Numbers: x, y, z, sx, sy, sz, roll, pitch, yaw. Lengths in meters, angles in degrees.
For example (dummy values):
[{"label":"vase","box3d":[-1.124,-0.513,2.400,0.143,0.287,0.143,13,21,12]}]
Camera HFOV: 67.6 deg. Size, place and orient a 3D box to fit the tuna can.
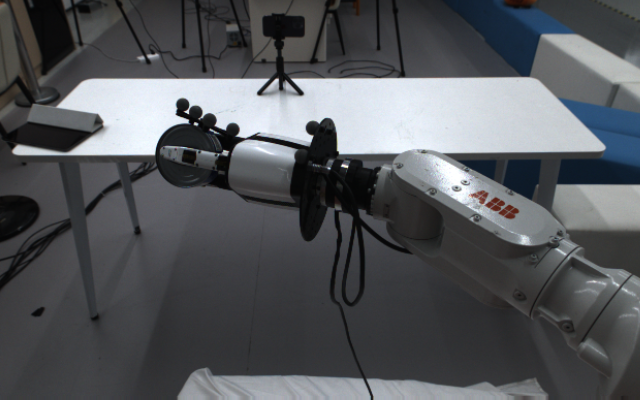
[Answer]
[{"label":"tuna can","box3d":[-0.175,-0.058,0.658,0.085,0.085,0.034,10,4,11]}]
